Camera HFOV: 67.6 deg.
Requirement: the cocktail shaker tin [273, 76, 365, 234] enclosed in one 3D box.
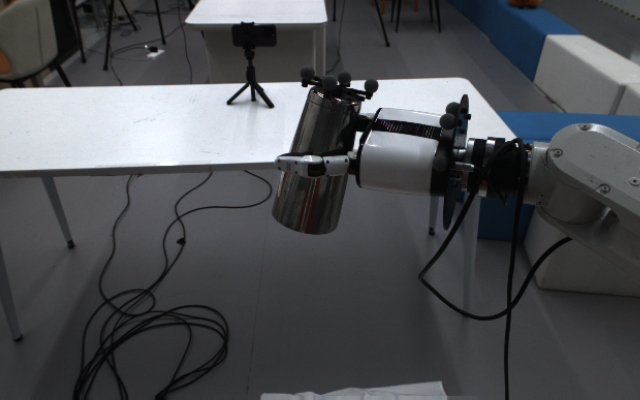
[{"bbox_3d":[0.001,-0.055,0.618,0.093,0.170,0.093,12,24,-5],"label":"cocktail shaker tin"}]
